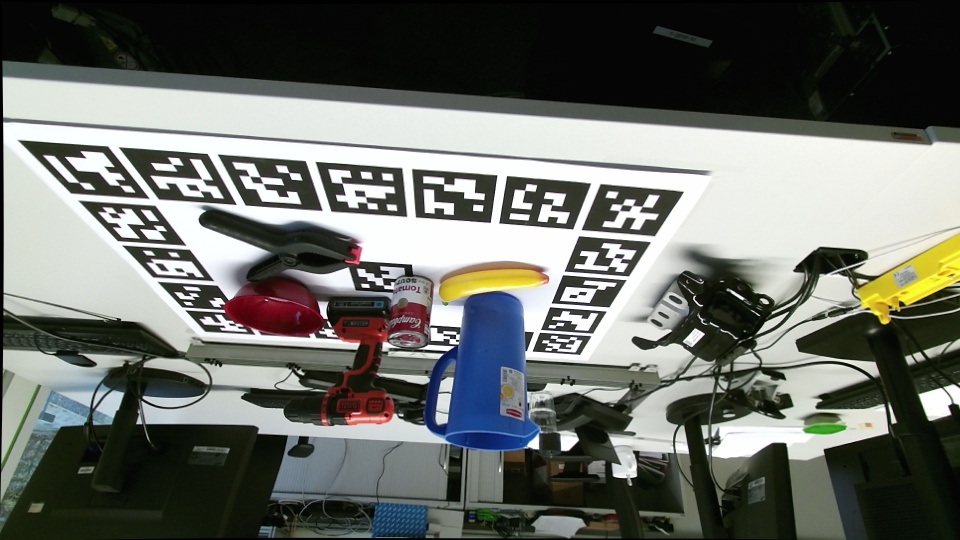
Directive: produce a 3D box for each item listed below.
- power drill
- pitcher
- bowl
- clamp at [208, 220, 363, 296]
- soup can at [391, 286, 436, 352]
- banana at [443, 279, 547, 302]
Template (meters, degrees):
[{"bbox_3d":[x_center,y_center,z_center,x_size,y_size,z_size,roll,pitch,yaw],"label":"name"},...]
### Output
[{"bbox_3d":[-0.235,0.182,0.920,0.185,0.186,0.057,2,148,2],"label":"power drill"},{"bbox_3d":[0.006,0.186,0.896,0.189,0.241,0.133,-10,149,18],"label":"pitcher"},{"bbox_3d":[-0.338,0.073,0.910,0.162,0.055,0.162,1,146,1],"label":"bowl"},{"bbox_3d":[-0.267,-0.009,0.780,0.203,0.036,0.165,2,144,-1],"label":"clamp"},{"bbox_3d":[-0.109,0.085,0.876,0.068,0.101,0.068,2,156,1],"label":"soup can"},{"bbox_3d":[0.020,0.039,0.857,0.198,0.038,0.074,-9,155,20],"label":"banana"}]
